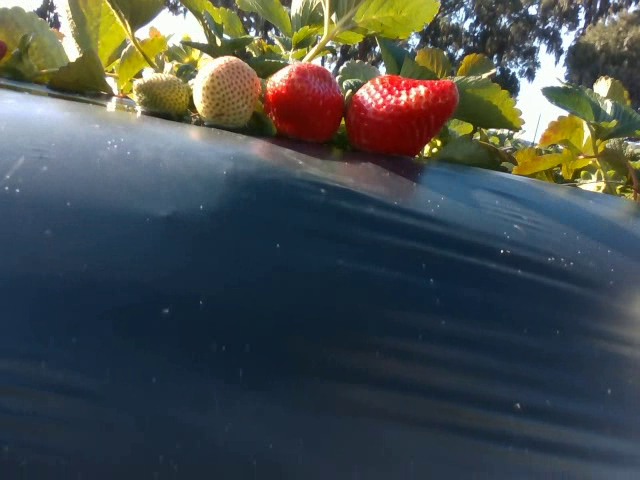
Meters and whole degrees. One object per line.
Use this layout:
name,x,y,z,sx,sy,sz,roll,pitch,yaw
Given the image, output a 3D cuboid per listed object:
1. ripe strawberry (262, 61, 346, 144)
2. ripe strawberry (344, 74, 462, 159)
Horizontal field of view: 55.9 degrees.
ripe strawberry,-0.009,-0.070,0.287,0.050,0.044,0.061,32,1,9
ripe strawberry,0.044,-0.063,0.291,0.056,0.052,0.067,-31,10,-38
